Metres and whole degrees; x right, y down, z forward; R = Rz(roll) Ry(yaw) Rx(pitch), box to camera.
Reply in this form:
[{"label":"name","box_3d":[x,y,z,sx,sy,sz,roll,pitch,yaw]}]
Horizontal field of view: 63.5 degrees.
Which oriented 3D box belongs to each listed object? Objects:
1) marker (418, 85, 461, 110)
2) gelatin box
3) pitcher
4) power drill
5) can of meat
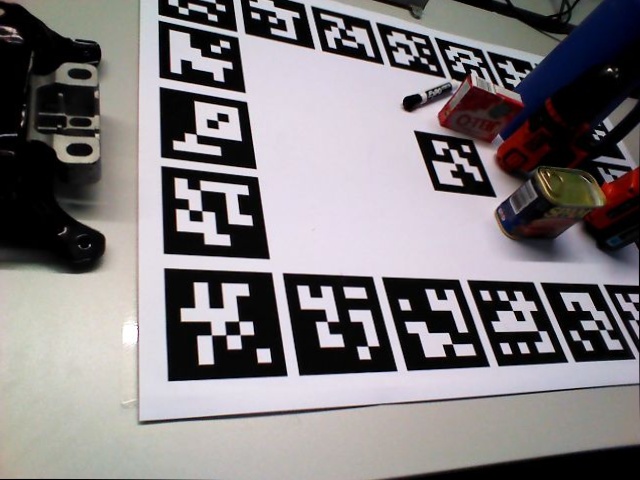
[{"label":"marker","box_3d":[0.183,-0.208,0.745,0.120,0.020,0.019,-25,74,-34]},{"label":"gelatin box","box_3d":[0.250,-0.170,0.723,0.089,0.074,0.030,14,59,-19]},{"label":"pitcher","box_3d":[0.411,-0.203,0.721,0.189,0.244,0.132,28,55,0]},{"label":"power drill","box_3d":[0.374,-0.106,0.671,0.187,0.186,0.057,37,54,-8]},{"label":"can of meat","box_3d":[0.305,-0.031,0.650,0.101,0.084,0.057,3,57,-25]}]
